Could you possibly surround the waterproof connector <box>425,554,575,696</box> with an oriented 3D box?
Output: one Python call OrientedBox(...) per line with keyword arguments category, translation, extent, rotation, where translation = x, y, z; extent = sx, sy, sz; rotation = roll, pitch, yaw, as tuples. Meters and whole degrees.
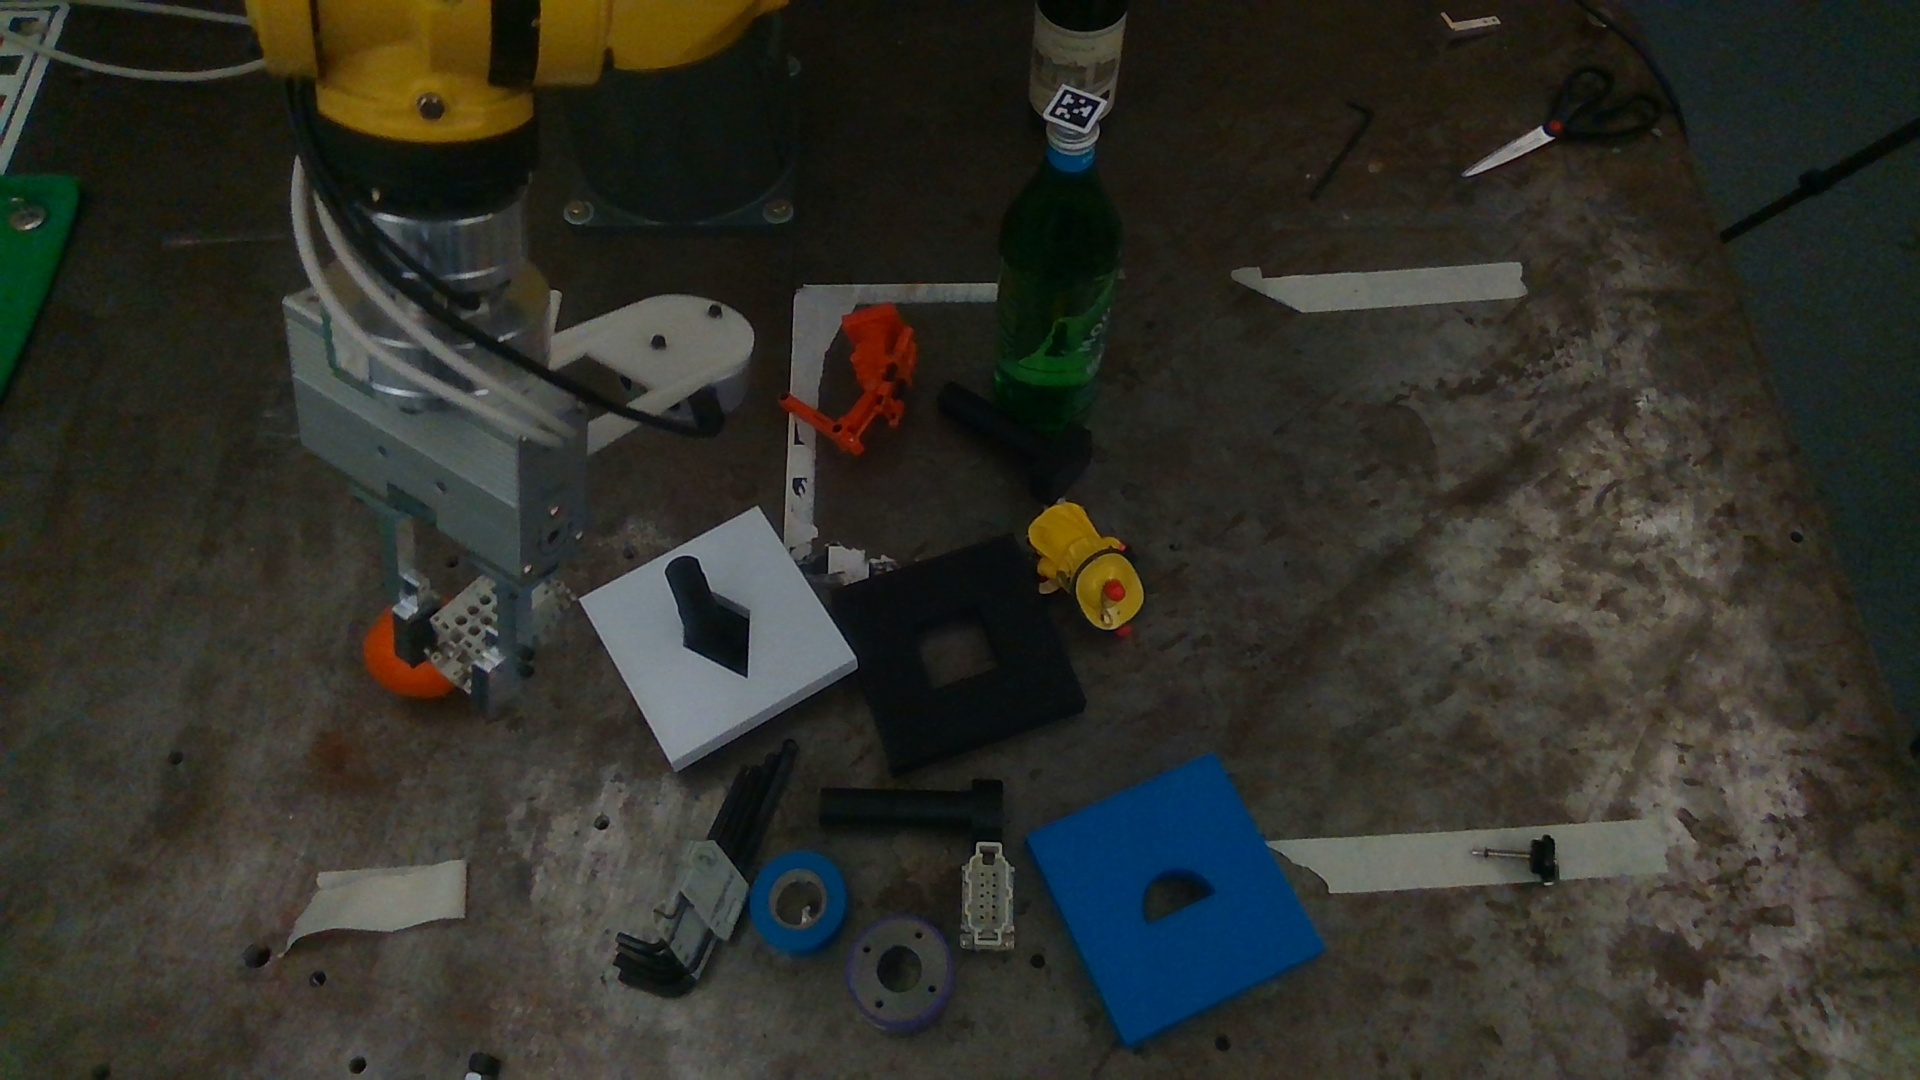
OrientedBox(category="waterproof connector", translation=(-0.220, 0.039, 0.662), extent=(0.037, 0.038, 0.069), rotation=(30, 59, 17))
